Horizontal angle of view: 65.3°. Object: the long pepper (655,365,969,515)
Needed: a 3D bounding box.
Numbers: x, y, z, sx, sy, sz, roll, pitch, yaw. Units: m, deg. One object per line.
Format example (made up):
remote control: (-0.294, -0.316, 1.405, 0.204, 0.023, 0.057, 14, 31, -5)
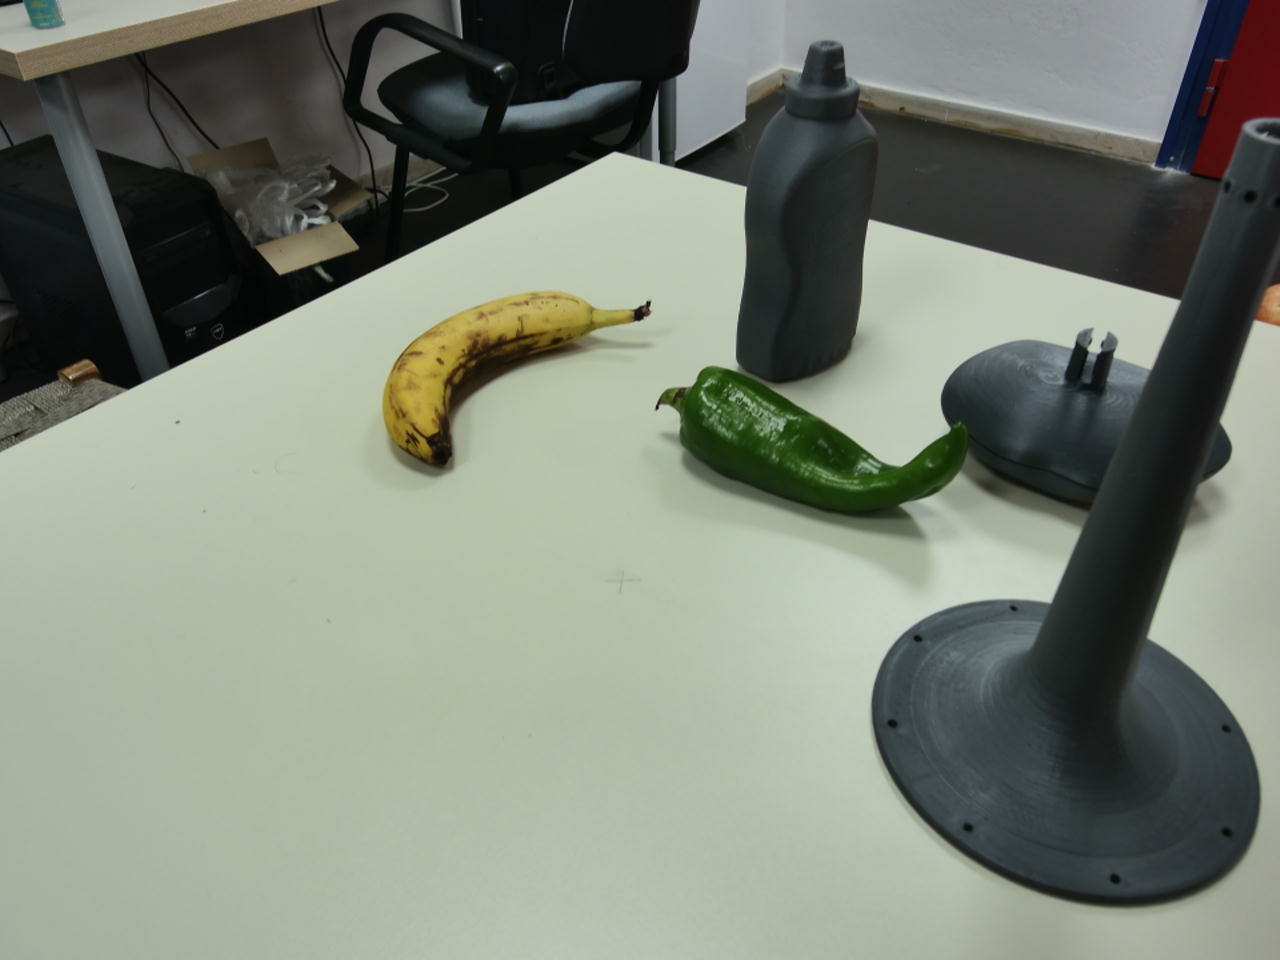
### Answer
long pepper: (0.083, -0.025, 0.535, 0.175, 0.065, 0.058, 24, 43, 28)
